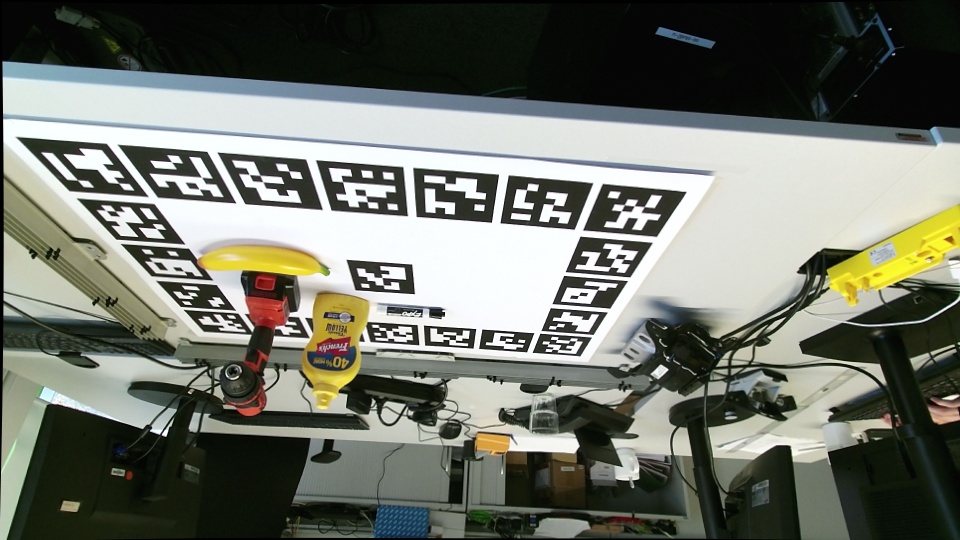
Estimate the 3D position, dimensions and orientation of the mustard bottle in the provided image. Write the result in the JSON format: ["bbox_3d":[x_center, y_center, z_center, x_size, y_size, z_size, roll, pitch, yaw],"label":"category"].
[{"bbox_3d":[-0.244,0.129,0.923,0.096,0.190,0.058,11,146,-11],"label":"mustard bottle"}]

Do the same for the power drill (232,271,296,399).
[{"bbox_3d":[-0.345,0.099,0.856,0.057,0.186,0.185,13,147,-12],"label":"power drill"}]

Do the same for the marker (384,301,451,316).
[{"bbox_3d":[-0.115,0.071,0.984,0.121,0.019,0.020,5,145,-4],"label":"marker"}]

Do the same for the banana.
[{"bbox_3d":[-0.325,-0.027,0.836,0.198,0.038,0.074,7,145,-10],"label":"banana"}]
